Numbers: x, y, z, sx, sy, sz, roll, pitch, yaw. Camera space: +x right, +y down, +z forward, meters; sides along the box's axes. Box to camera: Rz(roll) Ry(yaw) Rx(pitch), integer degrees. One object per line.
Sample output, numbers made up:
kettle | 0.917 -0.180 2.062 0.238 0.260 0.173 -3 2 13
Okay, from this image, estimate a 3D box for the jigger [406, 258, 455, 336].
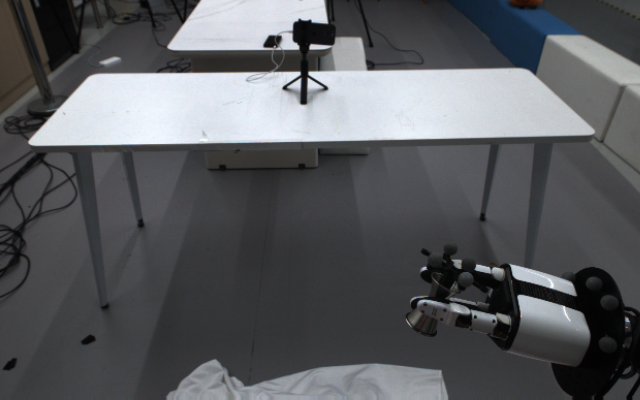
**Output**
jigger | 0.139 0.128 0.597 0.043 0.071 0.043 23 19 -8
